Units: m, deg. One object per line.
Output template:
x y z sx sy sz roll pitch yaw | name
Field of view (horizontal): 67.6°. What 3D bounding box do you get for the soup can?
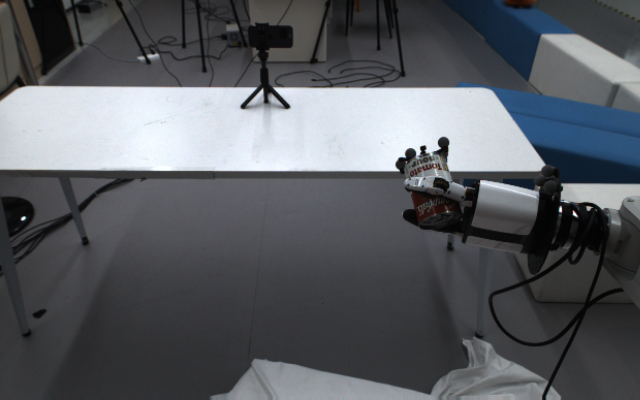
0.176 -0.015 0.747 0.067 0.067 0.101 -8 68 -14 | soup can
